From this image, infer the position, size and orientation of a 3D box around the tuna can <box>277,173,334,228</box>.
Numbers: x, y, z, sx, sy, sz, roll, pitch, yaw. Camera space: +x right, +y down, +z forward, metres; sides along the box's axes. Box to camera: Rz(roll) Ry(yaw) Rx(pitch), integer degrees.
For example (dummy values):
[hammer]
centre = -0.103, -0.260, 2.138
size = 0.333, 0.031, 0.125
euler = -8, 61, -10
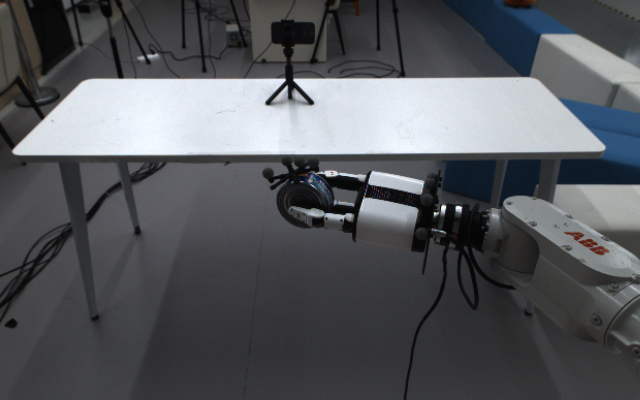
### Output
[tuna can]
centre = -0.020, 0.007, 0.745
size = 0.085, 0.085, 0.034
euler = 11, 34, 13
